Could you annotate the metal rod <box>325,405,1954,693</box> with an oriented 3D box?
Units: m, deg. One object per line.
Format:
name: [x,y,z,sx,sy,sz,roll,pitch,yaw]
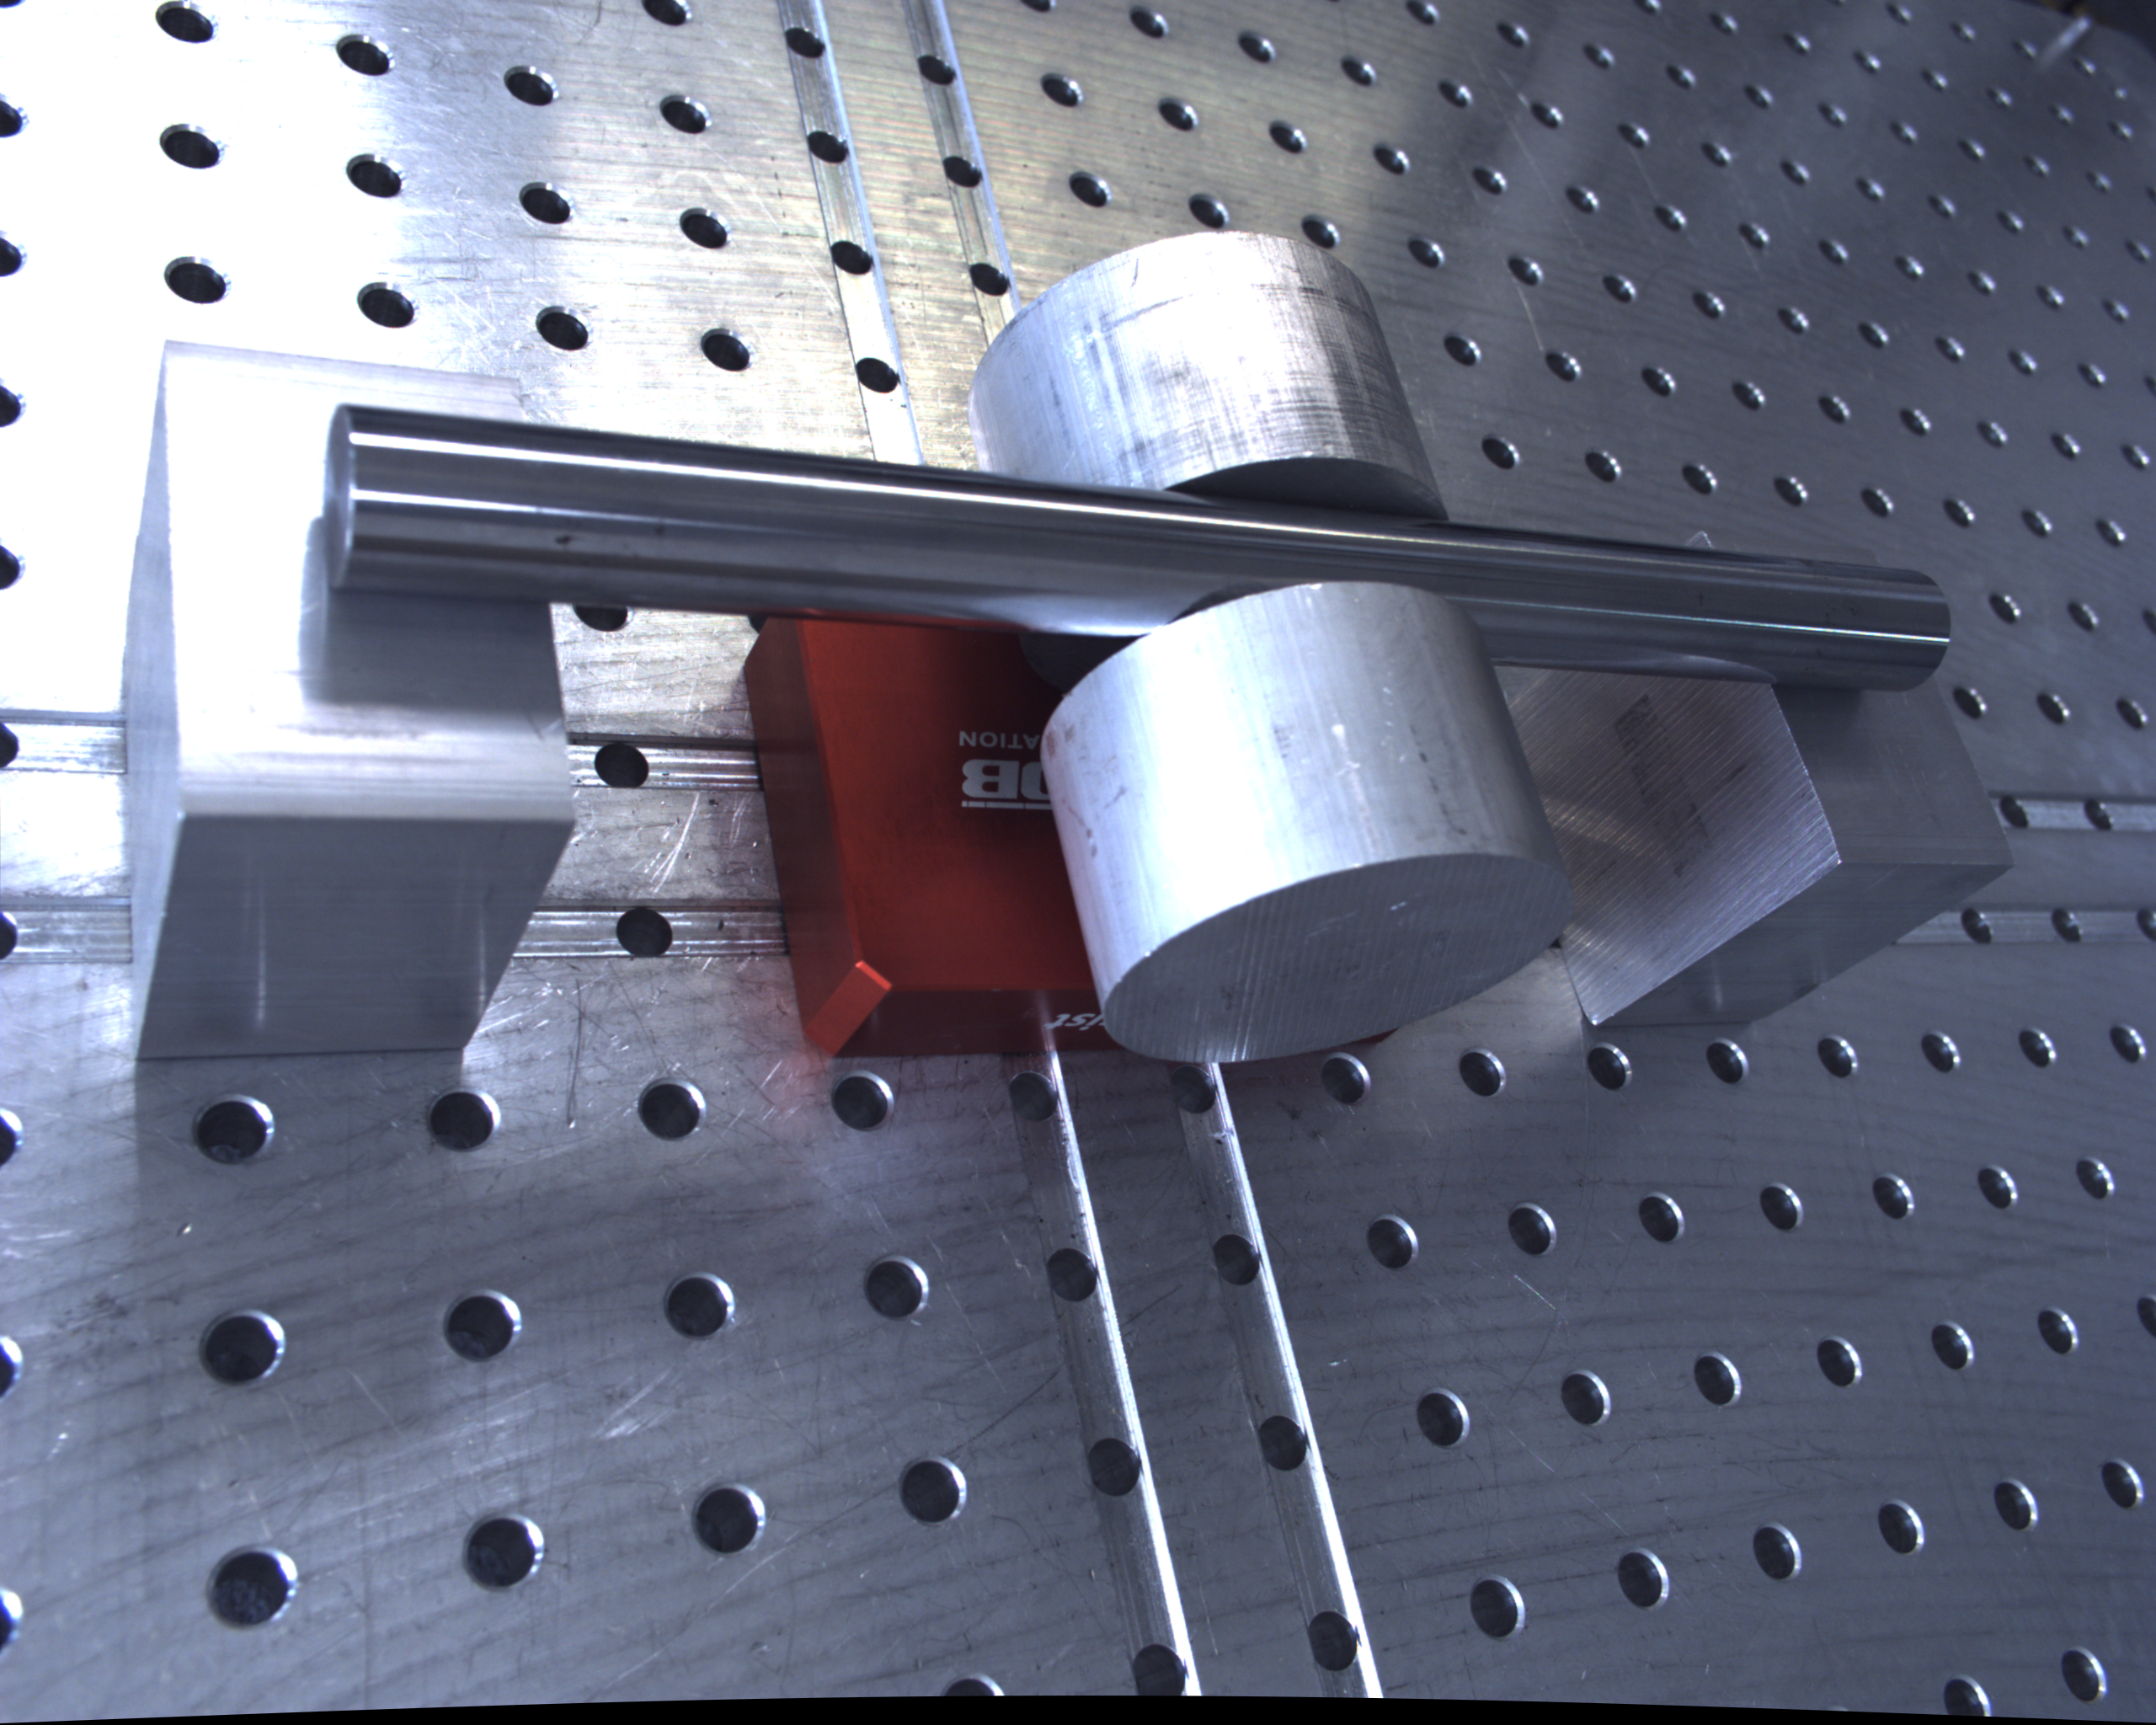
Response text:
metal rod: [0.034,-0.048,0.352,0.303,0.025,0.025,0,62,-28]

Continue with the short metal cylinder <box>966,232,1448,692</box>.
short metal cylinder: [0.023,-0.071,0.390,0.081,0.080,0.050,1,62,-28]

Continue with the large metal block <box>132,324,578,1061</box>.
large metal block: [-0.116,-0.023,0.322,0.050,0.080,0.080,1,62,-28]

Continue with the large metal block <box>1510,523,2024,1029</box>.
large metal block: [0.144,-0.017,0.459,0.050,0.080,0.080,1,62,-28]

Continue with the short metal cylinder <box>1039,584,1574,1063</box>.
short metal cylinder: [0.038,-0.004,0.357,0.081,0.080,0.050,1,62,-28]

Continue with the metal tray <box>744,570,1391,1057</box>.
metal tray: [0.006,-0.010,0.414,0.131,0.030,0.090,1,61,-28]
